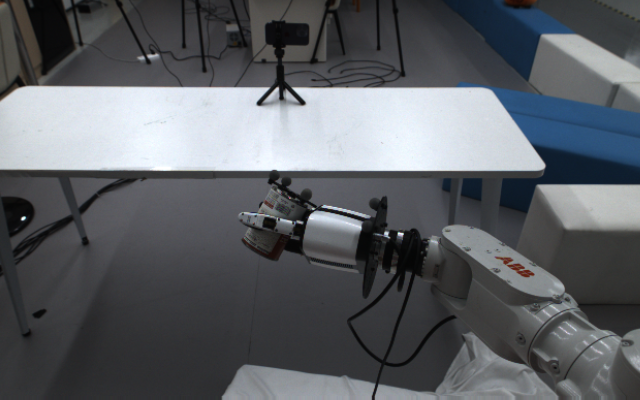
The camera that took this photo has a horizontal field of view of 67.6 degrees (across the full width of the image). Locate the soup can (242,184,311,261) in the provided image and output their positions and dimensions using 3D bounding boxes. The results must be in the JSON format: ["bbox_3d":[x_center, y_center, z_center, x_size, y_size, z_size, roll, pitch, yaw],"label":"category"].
[{"bbox_3d":[-0.072,0.039,0.773,0.067,0.101,0.067,30,2,-1],"label":"soup can"}]
